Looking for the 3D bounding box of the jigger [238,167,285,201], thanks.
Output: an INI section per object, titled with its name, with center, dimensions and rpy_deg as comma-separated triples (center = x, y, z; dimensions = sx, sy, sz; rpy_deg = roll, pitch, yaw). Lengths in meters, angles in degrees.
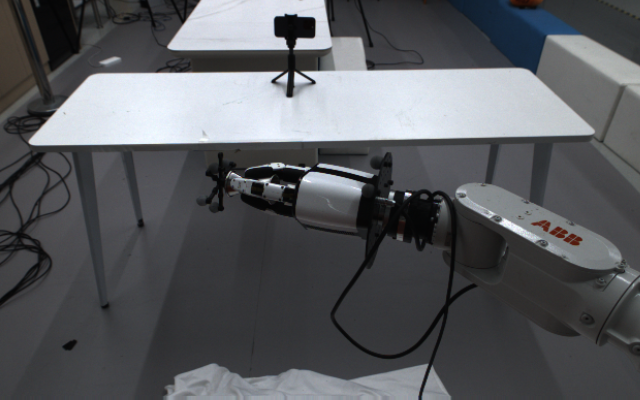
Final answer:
[jigger]
center = -0.091, -0.023, 0.694
dimensions = 0.071, 0.043, 0.043
rpy_deg = 8, 35, 15
